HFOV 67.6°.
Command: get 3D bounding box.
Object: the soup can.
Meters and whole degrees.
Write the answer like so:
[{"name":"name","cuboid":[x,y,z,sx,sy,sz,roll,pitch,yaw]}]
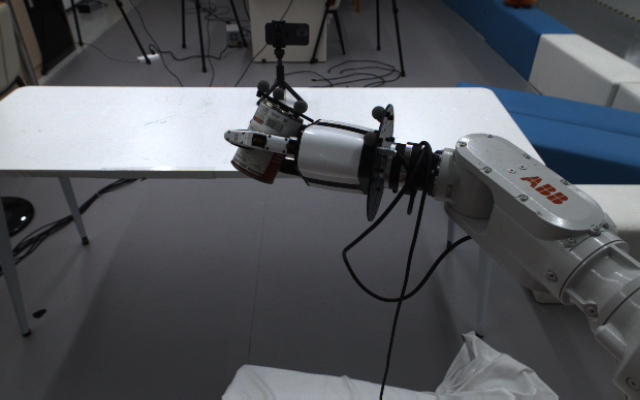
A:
[{"name":"soup can","cuboid":[-0.075,-0.083,0.688,0.067,0.101,0.067,27,10,-5]}]
